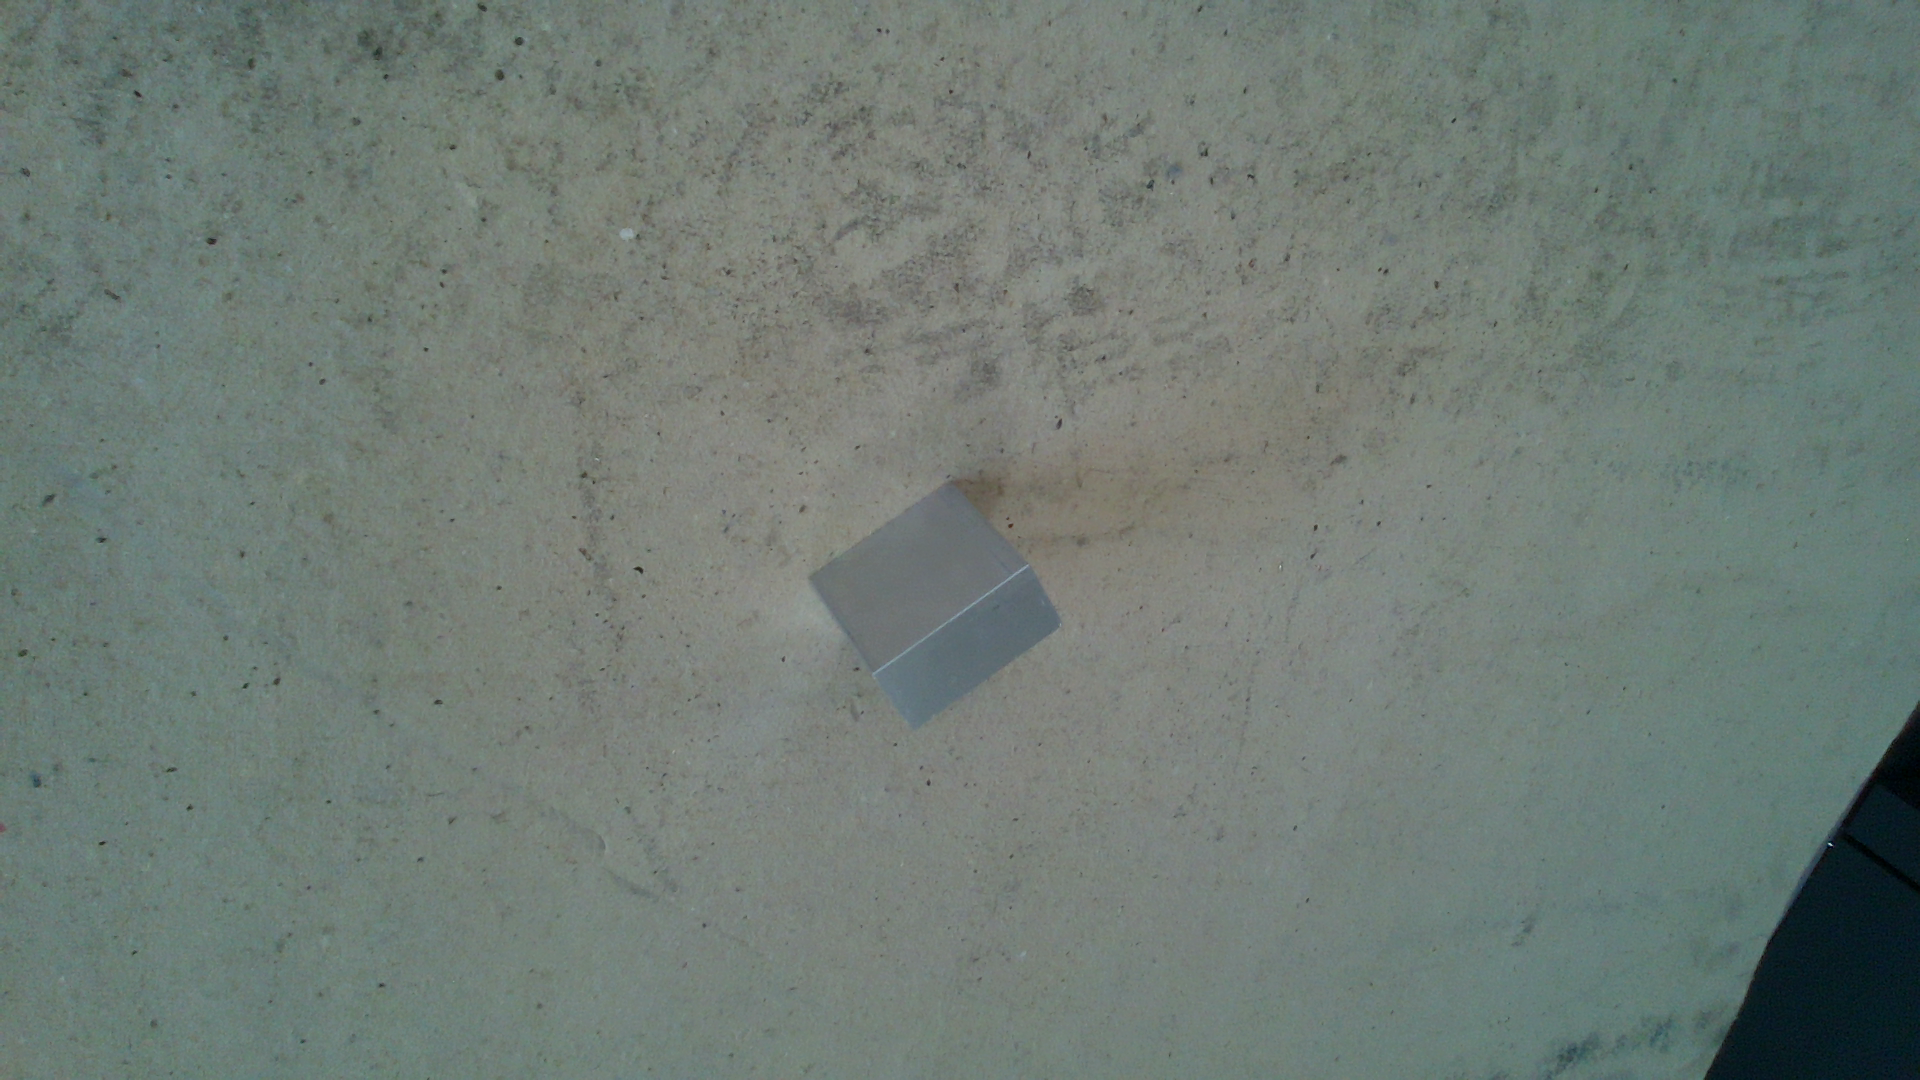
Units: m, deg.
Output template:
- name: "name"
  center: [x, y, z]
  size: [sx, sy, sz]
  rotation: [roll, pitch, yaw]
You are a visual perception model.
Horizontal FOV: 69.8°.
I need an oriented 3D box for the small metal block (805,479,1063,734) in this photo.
- name: "small metal block"
  center: [-0.008, 0.017, 0.379]
  size: [0.050, 0.050, 0.025]
  rotation: [-35, 129, -6]
